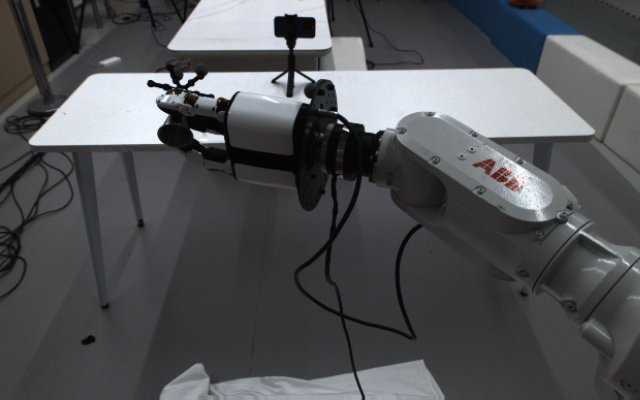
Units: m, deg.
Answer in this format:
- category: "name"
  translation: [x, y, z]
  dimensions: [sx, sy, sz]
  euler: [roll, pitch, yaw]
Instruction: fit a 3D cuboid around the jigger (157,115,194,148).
- category: "jigger"
  translation: [-0.186, -0.108, 0.633]
  dimensions: [0.043, 0.043, 0.071]
  euler: [-2, 55, -6]
